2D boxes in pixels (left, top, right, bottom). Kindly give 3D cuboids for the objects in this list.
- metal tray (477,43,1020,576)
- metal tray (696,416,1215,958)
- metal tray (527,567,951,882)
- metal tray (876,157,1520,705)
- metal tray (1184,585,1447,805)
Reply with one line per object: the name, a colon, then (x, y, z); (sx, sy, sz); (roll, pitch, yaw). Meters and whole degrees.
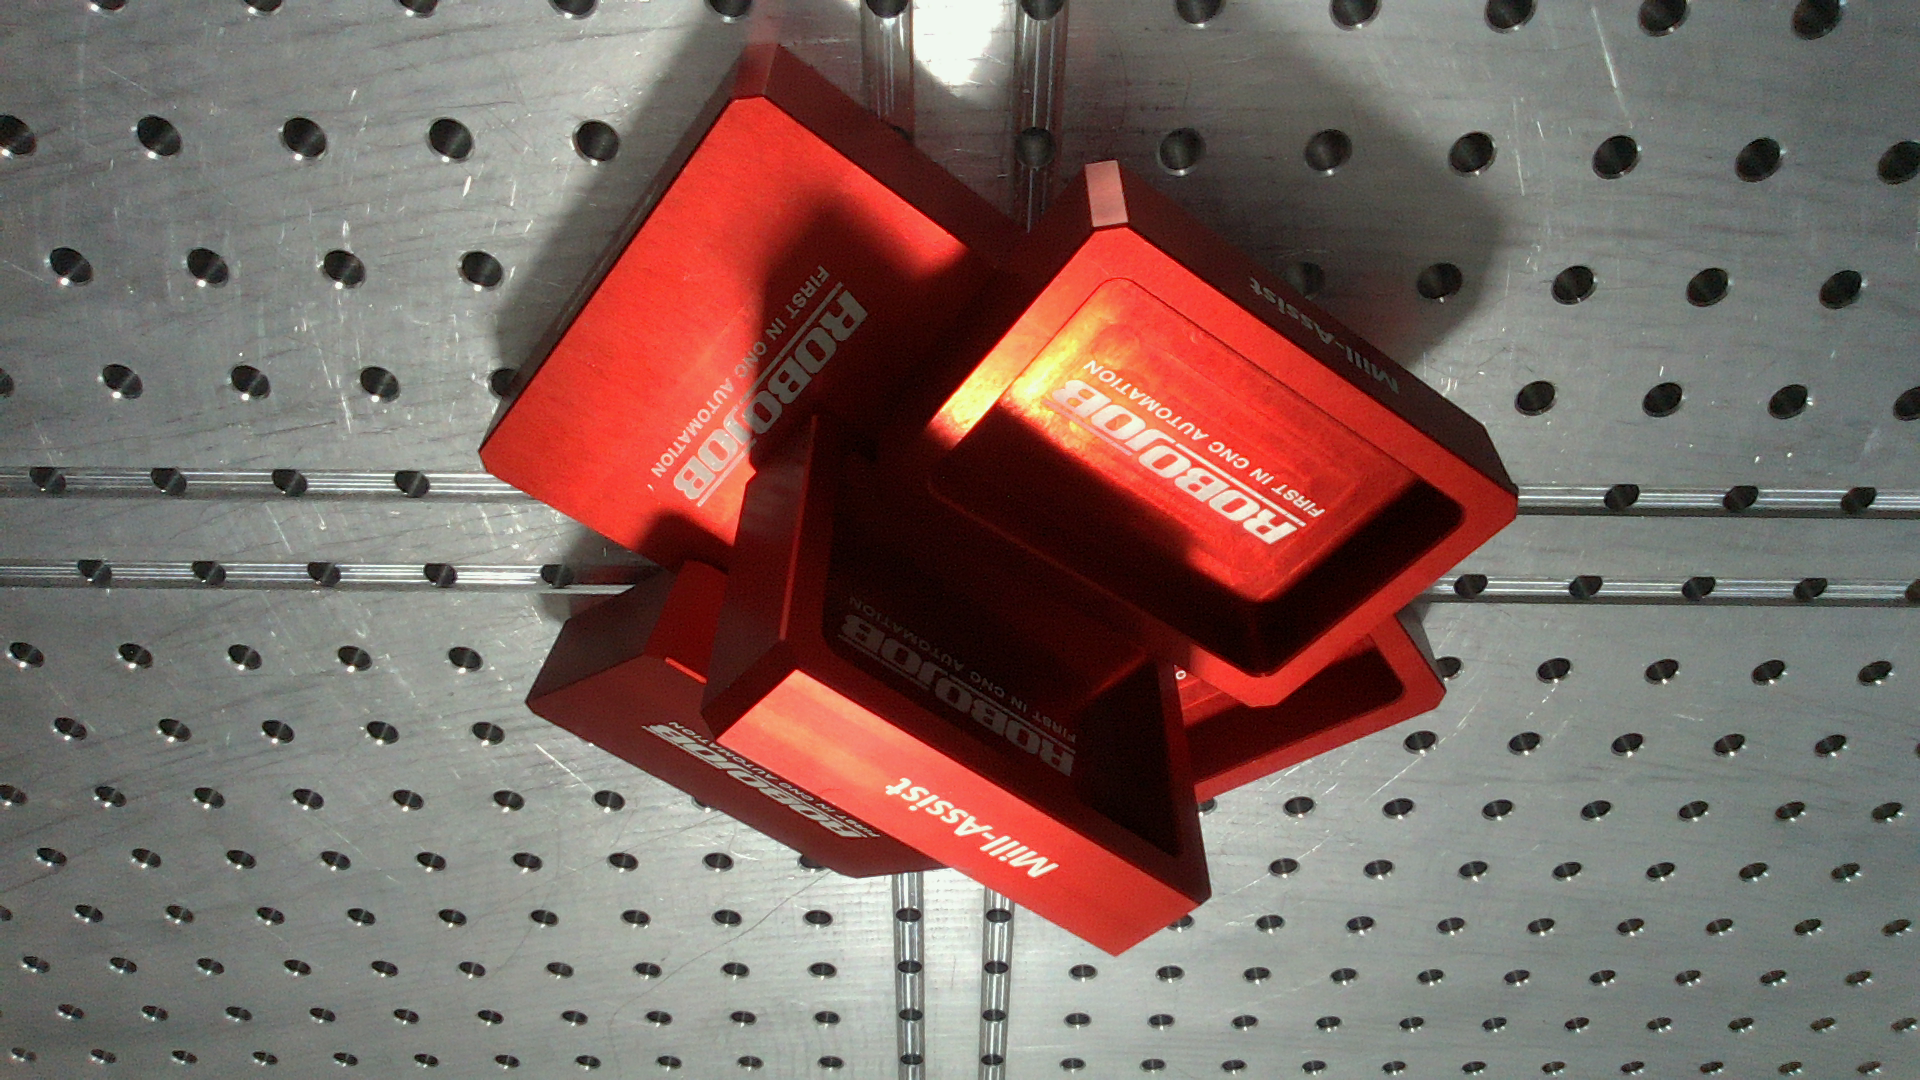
metal tray: (-0.051, -0.046, 0.350); (0.090, 0.030, 0.130); (31, 123, -24)
metal tray: (0.003, 0.036, 0.341); (0.130, 0.090, 0.030); (33, 123, -25)
metal tray: (-0.054, 0.062, 0.418); (0.130, 0.030, 0.090); (35, 147, -26)
metal tray: (0.057, -0.019, 0.334); (0.130, 0.030, 0.090); (29, 124, -23)
metal tray: (0.069, 0.039, 0.422); (0.130, 0.030, 0.090); (-27, 125, 21)
